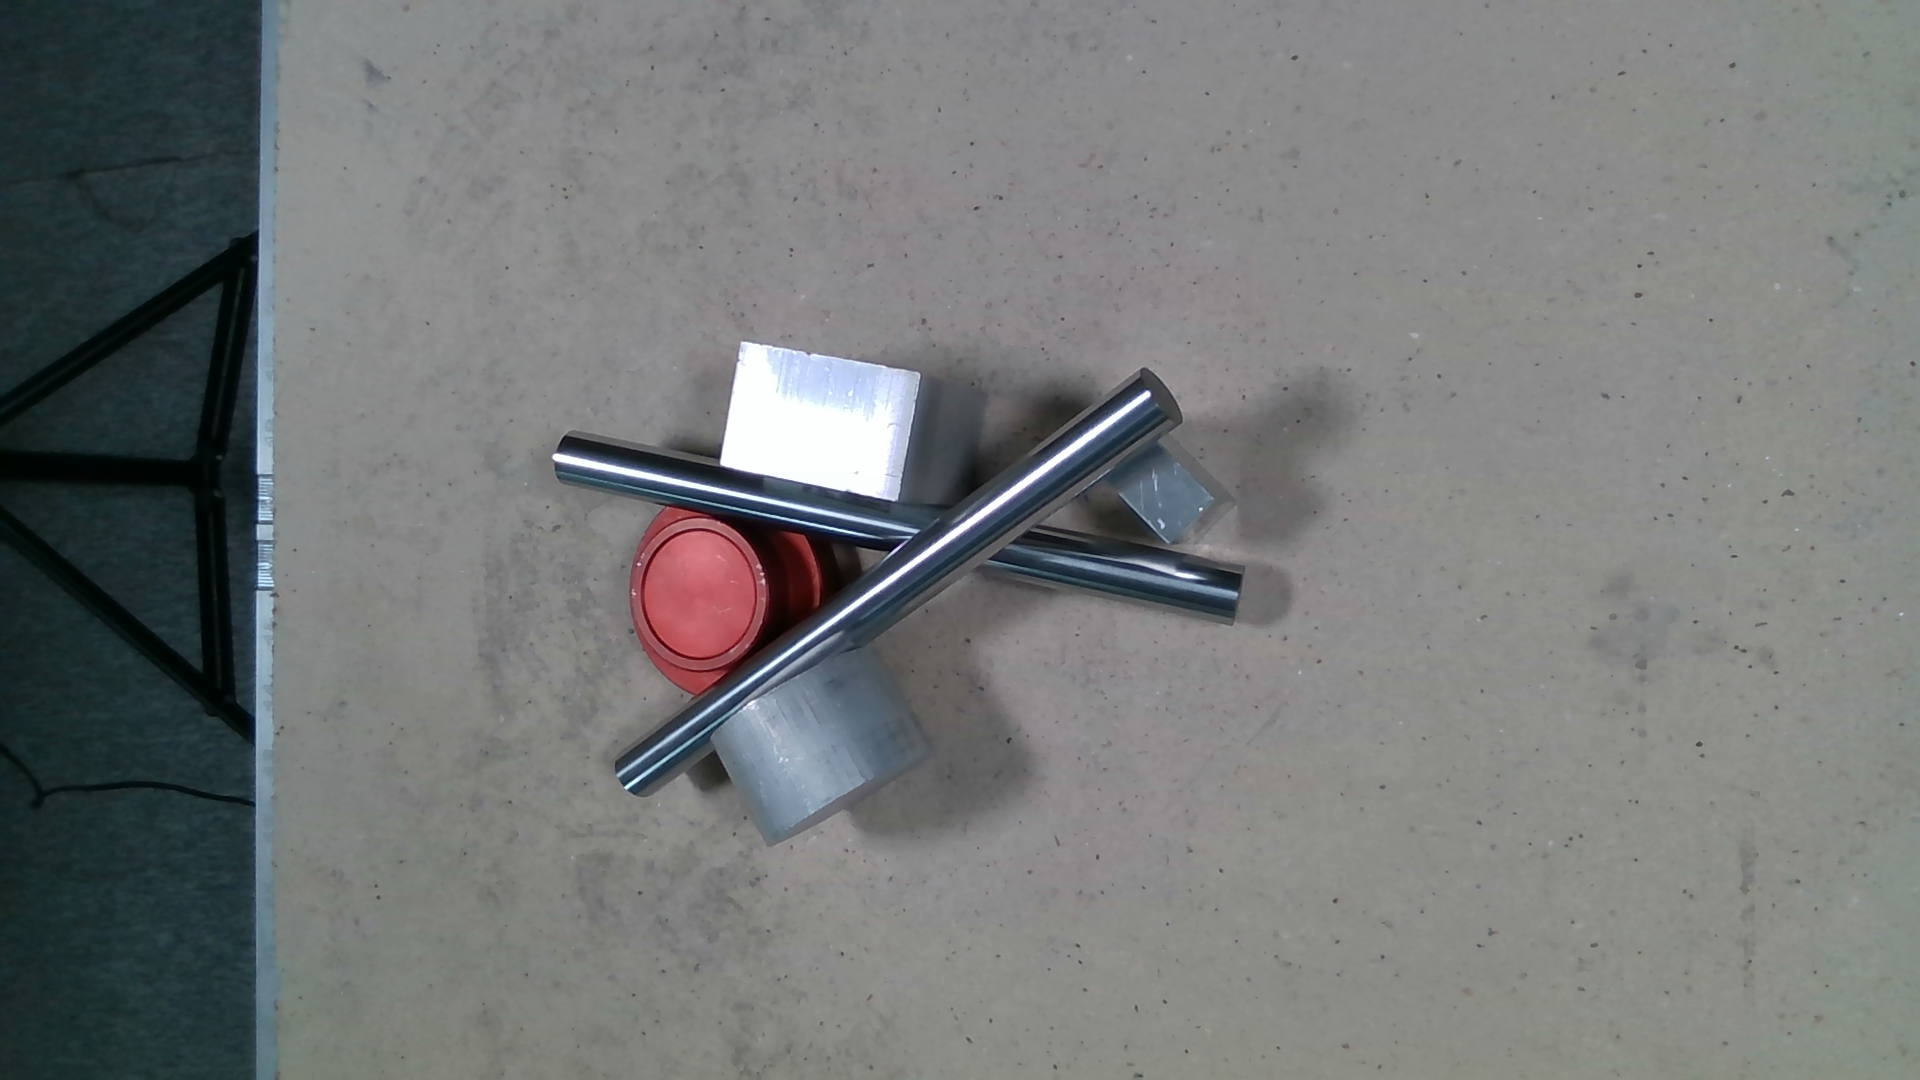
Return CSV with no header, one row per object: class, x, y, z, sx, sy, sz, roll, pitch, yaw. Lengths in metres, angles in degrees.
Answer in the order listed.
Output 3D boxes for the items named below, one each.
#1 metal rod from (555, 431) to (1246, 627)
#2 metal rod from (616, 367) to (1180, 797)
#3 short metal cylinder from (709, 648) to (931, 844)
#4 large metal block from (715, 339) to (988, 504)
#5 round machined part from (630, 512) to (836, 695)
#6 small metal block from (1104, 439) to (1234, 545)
metal rod,-0.032,-0.007,0.581,0.300,0.025,0.025,12,94,14
metal rod,-0.037,0.027,0.563,0.300,0.025,0.025,-36,78,26
short metal cylinder,-0.058,0.086,0.579,0.080,0.080,0.050,-34,79,17
large metal block,-0.042,-0.047,0.572,0.080,0.080,0.050,12,95,20
round machined part,-0.107,0.024,0.617,0.098,0.042,0.098,0,91,20
small metal block,0.079,-0.025,0.543,0.050,0.050,0.025,47,105,14
